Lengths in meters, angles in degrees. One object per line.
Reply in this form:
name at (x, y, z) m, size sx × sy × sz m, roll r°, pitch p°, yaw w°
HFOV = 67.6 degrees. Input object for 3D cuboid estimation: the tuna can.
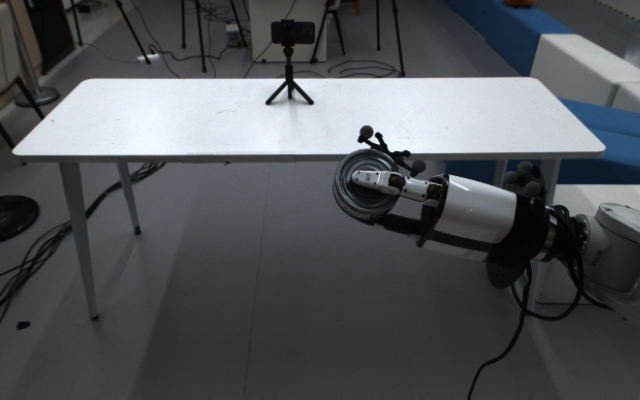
tuna can at (0.063, -0.013, 0.603) m, size 0.085 × 0.034 × 0.085 m, roll 0°, pitch 74°, yaw 0°
